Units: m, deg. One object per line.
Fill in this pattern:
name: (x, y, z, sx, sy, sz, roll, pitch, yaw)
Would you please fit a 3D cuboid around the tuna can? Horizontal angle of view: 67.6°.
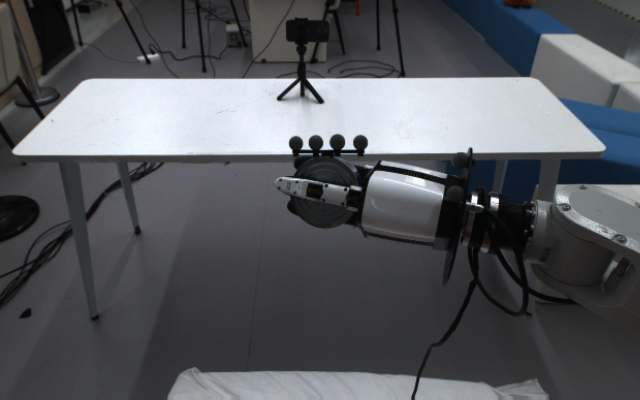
tuna can: (0.012, -0.006, 0.582, 0.085, 0.085, 0.034, 12, 8, 14)
